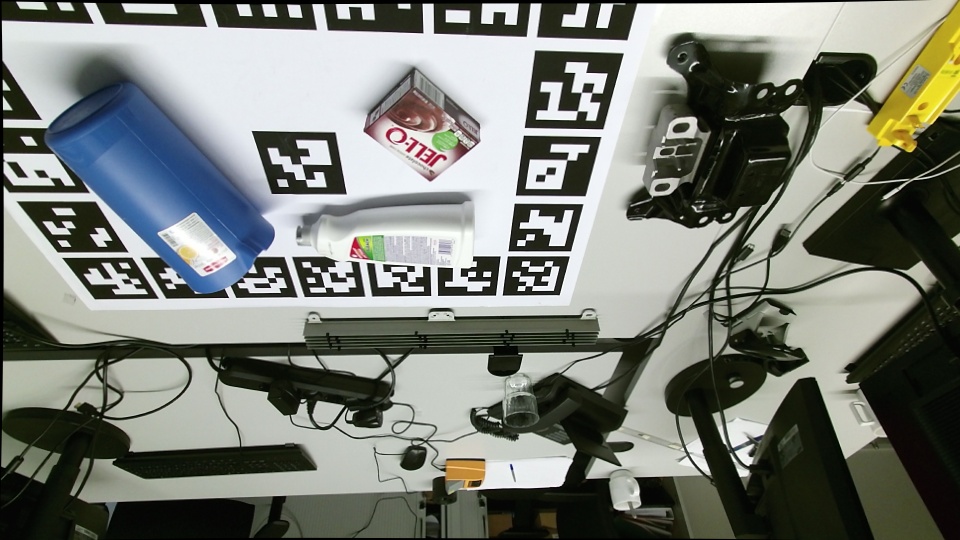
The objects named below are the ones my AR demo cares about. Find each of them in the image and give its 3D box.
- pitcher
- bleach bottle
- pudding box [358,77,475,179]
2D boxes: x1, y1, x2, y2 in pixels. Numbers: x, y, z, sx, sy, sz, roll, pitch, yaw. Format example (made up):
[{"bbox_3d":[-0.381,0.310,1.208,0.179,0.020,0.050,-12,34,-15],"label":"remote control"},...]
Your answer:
[{"bbox_3d":[-0.397,-0.100,0.671,0.189,0.133,0.243,10,142,38],"label":"pitcher"},{"bbox_3d":[-0.141,-0.041,0.776,0.252,0.067,0.103,-2,132,0],"label":"bleach bottle"},{"bbox_3d":[-0.075,-0.166,0.658,0.090,0.038,0.114,-29,130,32],"label":"pudding box"}]
